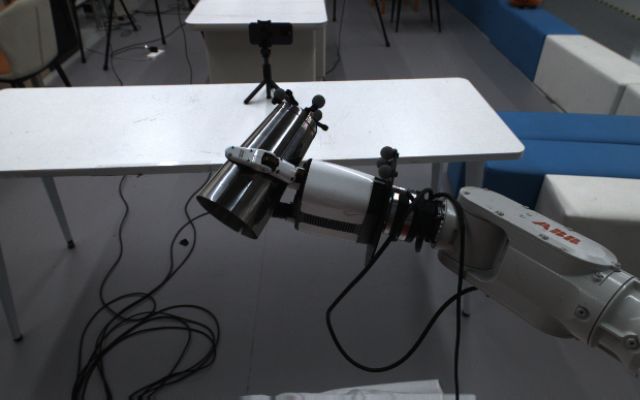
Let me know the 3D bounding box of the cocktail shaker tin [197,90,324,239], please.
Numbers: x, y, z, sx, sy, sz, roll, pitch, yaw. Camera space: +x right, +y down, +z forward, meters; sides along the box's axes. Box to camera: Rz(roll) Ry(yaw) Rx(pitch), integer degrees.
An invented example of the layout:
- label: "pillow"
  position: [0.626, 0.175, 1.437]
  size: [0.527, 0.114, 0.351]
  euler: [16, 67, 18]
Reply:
- label: "cocktail shaker tin"
  position: [-0.076, -0.046, 0.635]
  size: [0.093, 0.093, 0.170]
  euler: [22, 67, 26]
